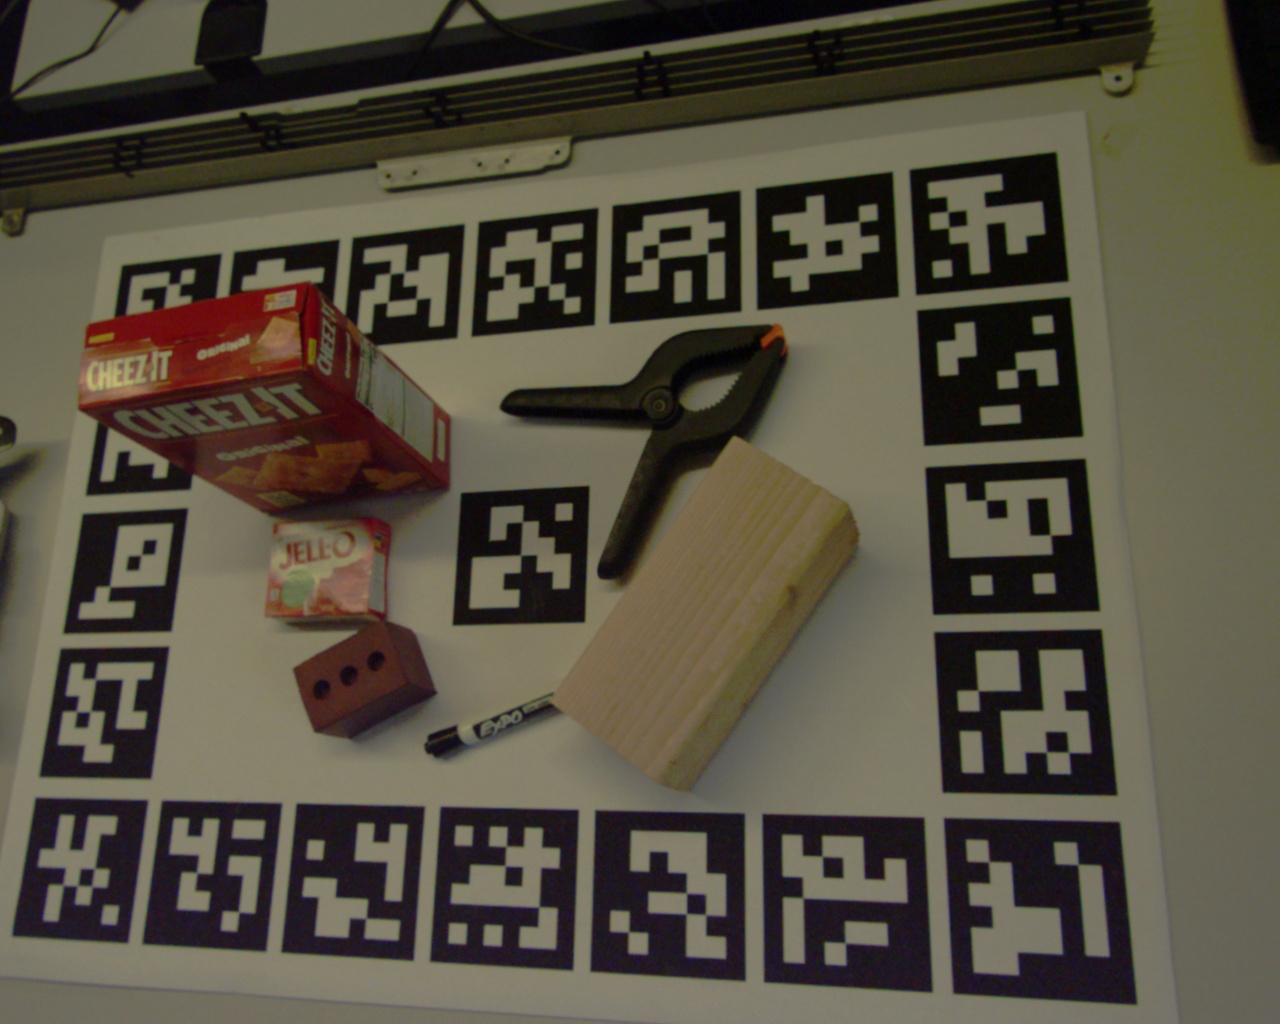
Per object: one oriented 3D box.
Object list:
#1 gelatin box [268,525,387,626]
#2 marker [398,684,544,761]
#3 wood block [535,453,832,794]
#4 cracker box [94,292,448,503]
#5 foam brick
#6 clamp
[{"bbox_3d":[-0.245,0.050,0.891,0.090,0.030,0.073,-4,76,15],"label":"gelatin box"},{"bbox_3d":[-0.121,0.154,0.829,0.121,0.019,0.020,-22,73,10],"label":"marker"},{"bbox_3d":[0.031,0.077,0.773,0.091,0.090,0.206,34,84,23],"label":"wood block"},{"bbox_3d":[-0.253,-0.071,0.820,0.165,0.212,0.072,-6,73,12],"label":"cracker box"},{"bbox_3d":[-0.210,0.125,0.847,0.078,0.051,0.053,-27,72,8],"label":"foam brick"},{"bbox_3d":[0.003,-0.062,0.842,0.203,0.036,0.166,-33,70,6],"label":"clamp"}]
